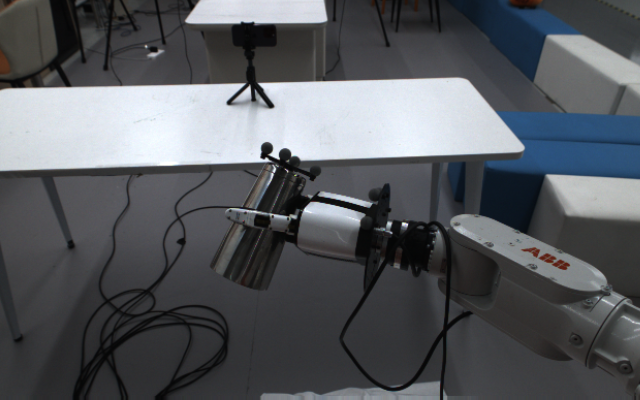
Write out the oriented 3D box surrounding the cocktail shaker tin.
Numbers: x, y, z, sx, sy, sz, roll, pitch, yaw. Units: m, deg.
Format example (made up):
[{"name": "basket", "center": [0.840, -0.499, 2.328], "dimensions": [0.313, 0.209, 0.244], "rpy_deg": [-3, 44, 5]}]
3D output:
[{"name": "cocktail shaker tin", "center": [-0.083, 0.033, 0.708], "dimensions": [0.093, 0.170, 0.093], "rpy_deg": [23, 0, 0]}]
